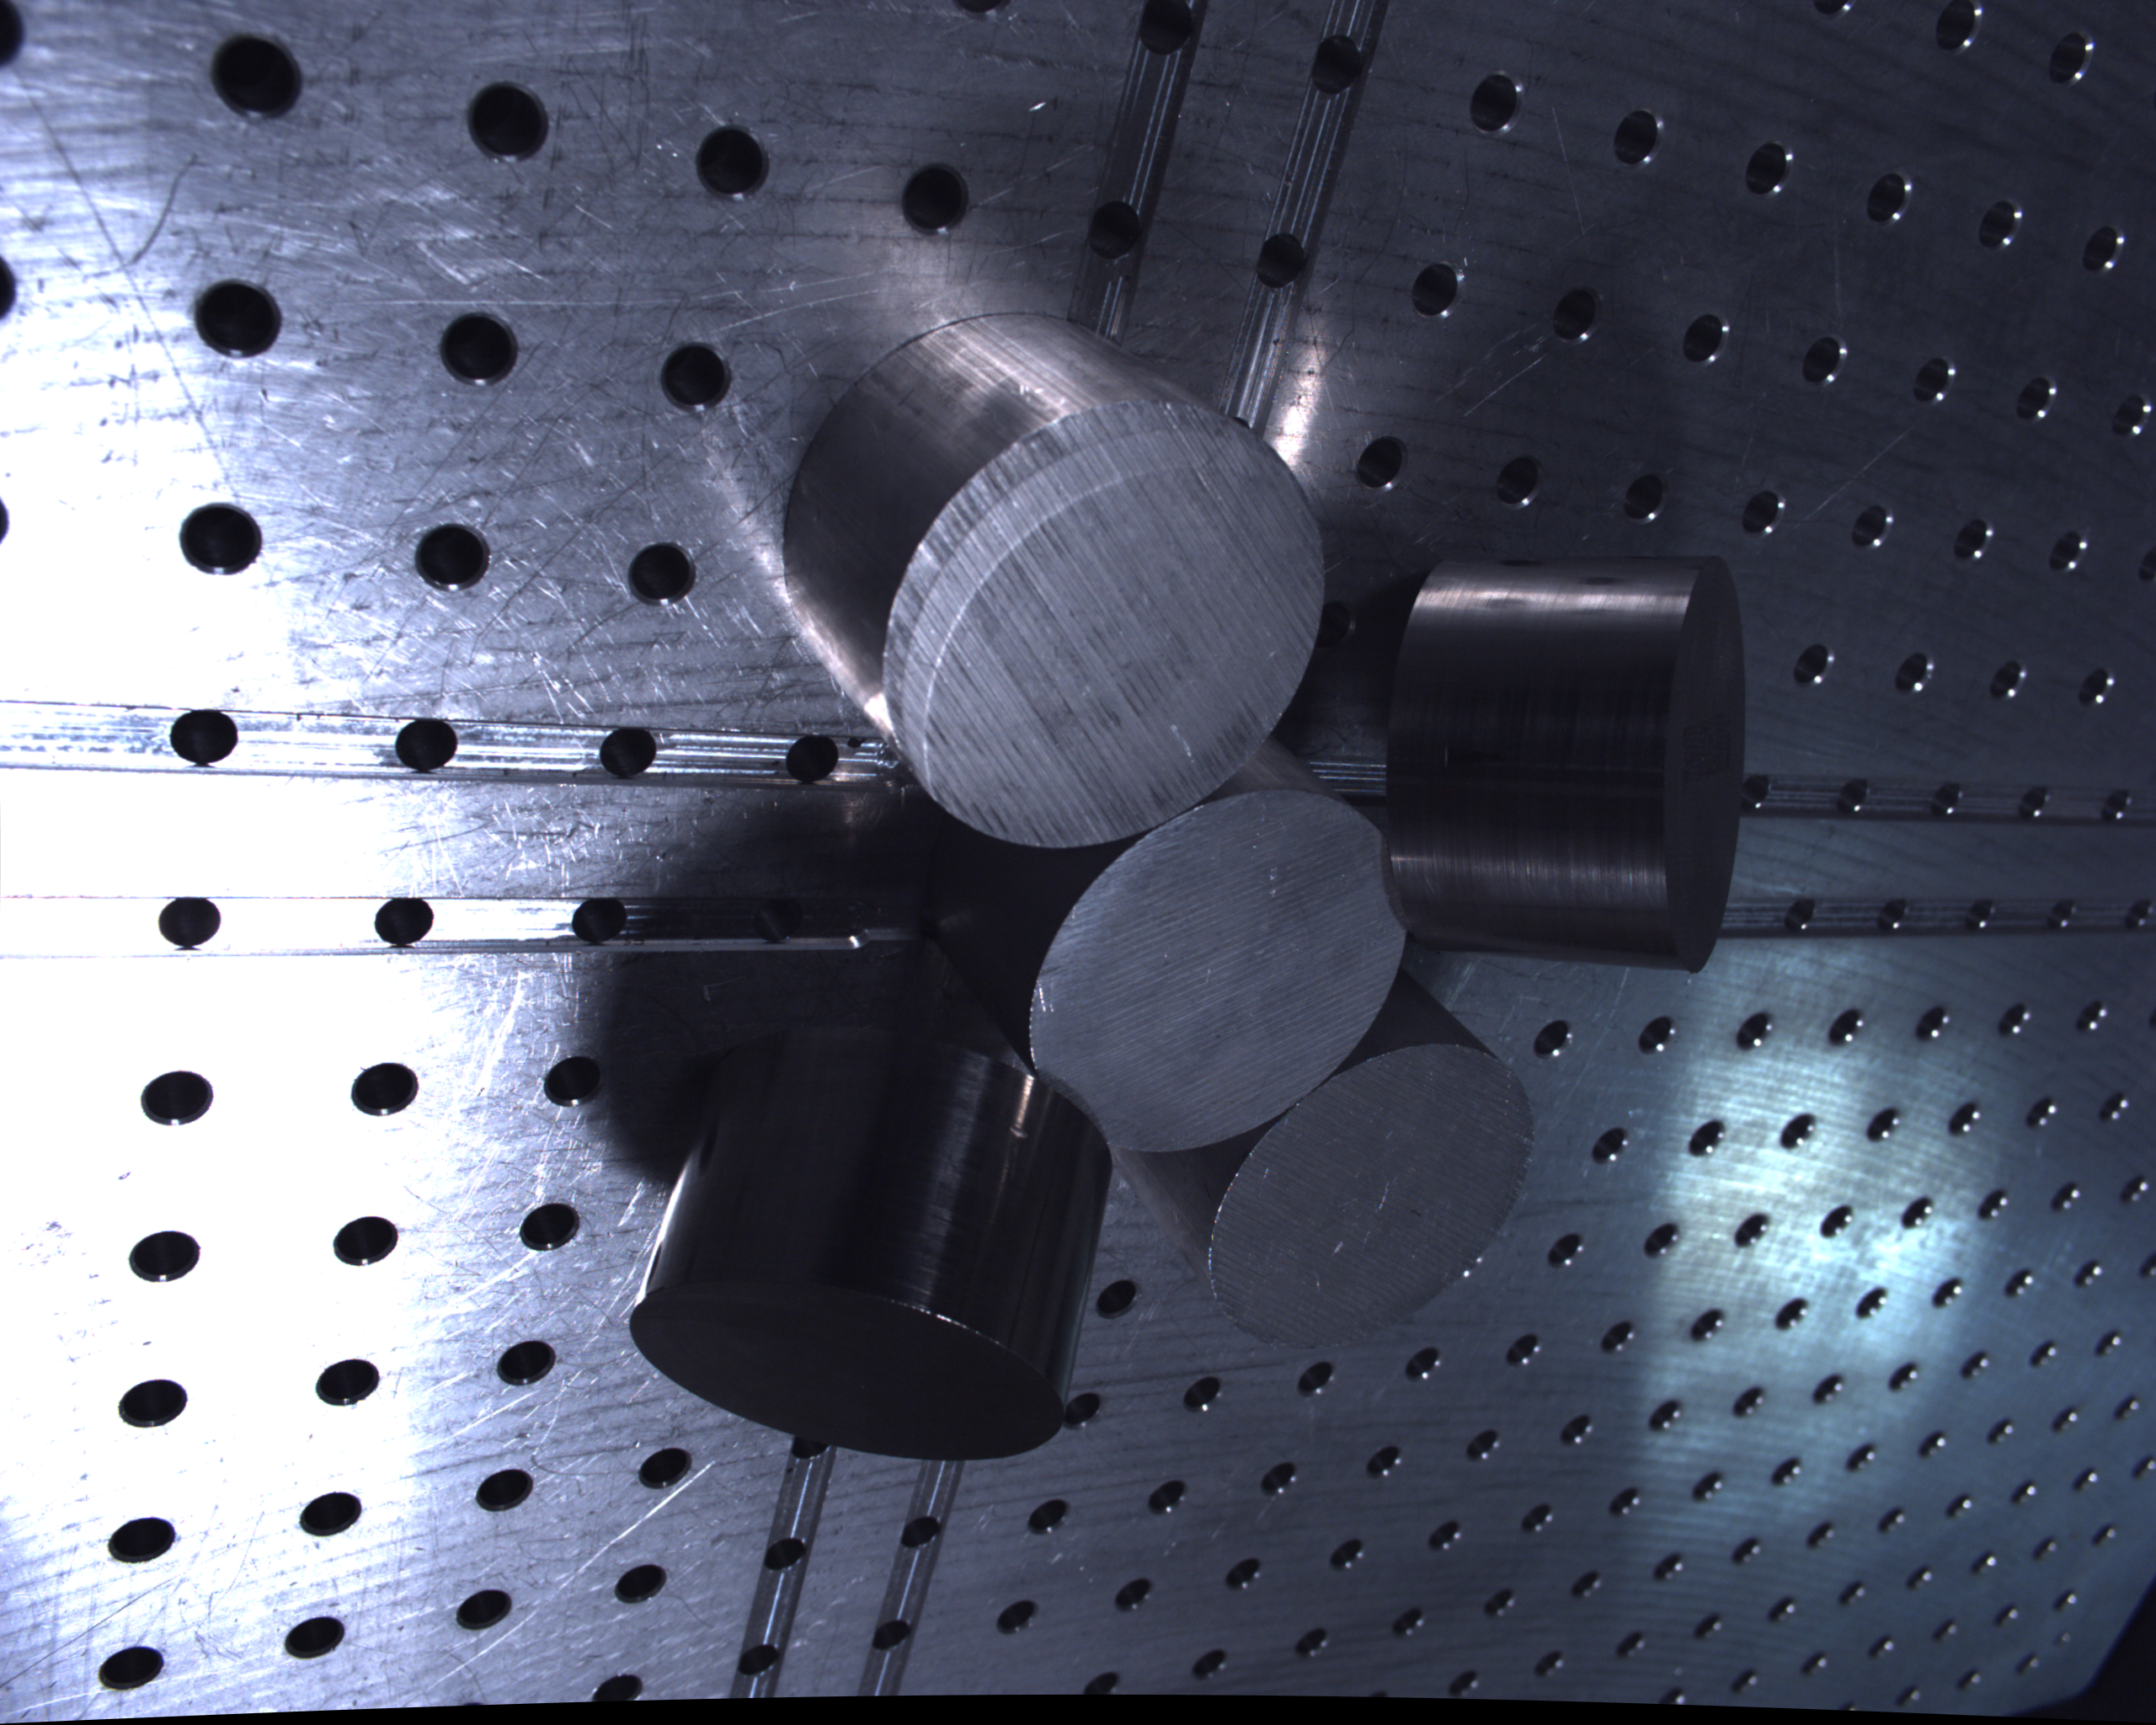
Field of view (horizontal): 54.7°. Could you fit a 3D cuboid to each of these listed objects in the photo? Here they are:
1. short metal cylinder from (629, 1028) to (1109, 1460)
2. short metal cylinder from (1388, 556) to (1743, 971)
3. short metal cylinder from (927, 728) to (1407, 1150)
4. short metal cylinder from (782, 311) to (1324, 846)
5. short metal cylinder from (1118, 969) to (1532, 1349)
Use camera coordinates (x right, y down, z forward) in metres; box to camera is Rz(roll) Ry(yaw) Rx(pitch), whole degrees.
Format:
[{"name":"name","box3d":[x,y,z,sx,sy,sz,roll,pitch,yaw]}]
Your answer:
[{"name":"short metal cylinder","box3d":[-0.038,0.074,0.394,0.080,0.050,0.080,8,145,6]},{"name":"short metal cylinder","box3d":[0.098,-0.020,0.412,0.080,0.050,0.079,-14,106,-62]},{"name":"short metal cylinder","box3d":[0.017,0.010,0.412,0.081,0.050,0.079,-14,125,-21]},{"name":"short metal cylinder","box3d":[-0.005,-0.050,0.363,0.081,0.050,0.079,-14,125,-21]},{"name":"short metal cylinder","box3d":[0.052,0.060,0.463,0.081,0.050,0.079,-14,125,-21]}]
